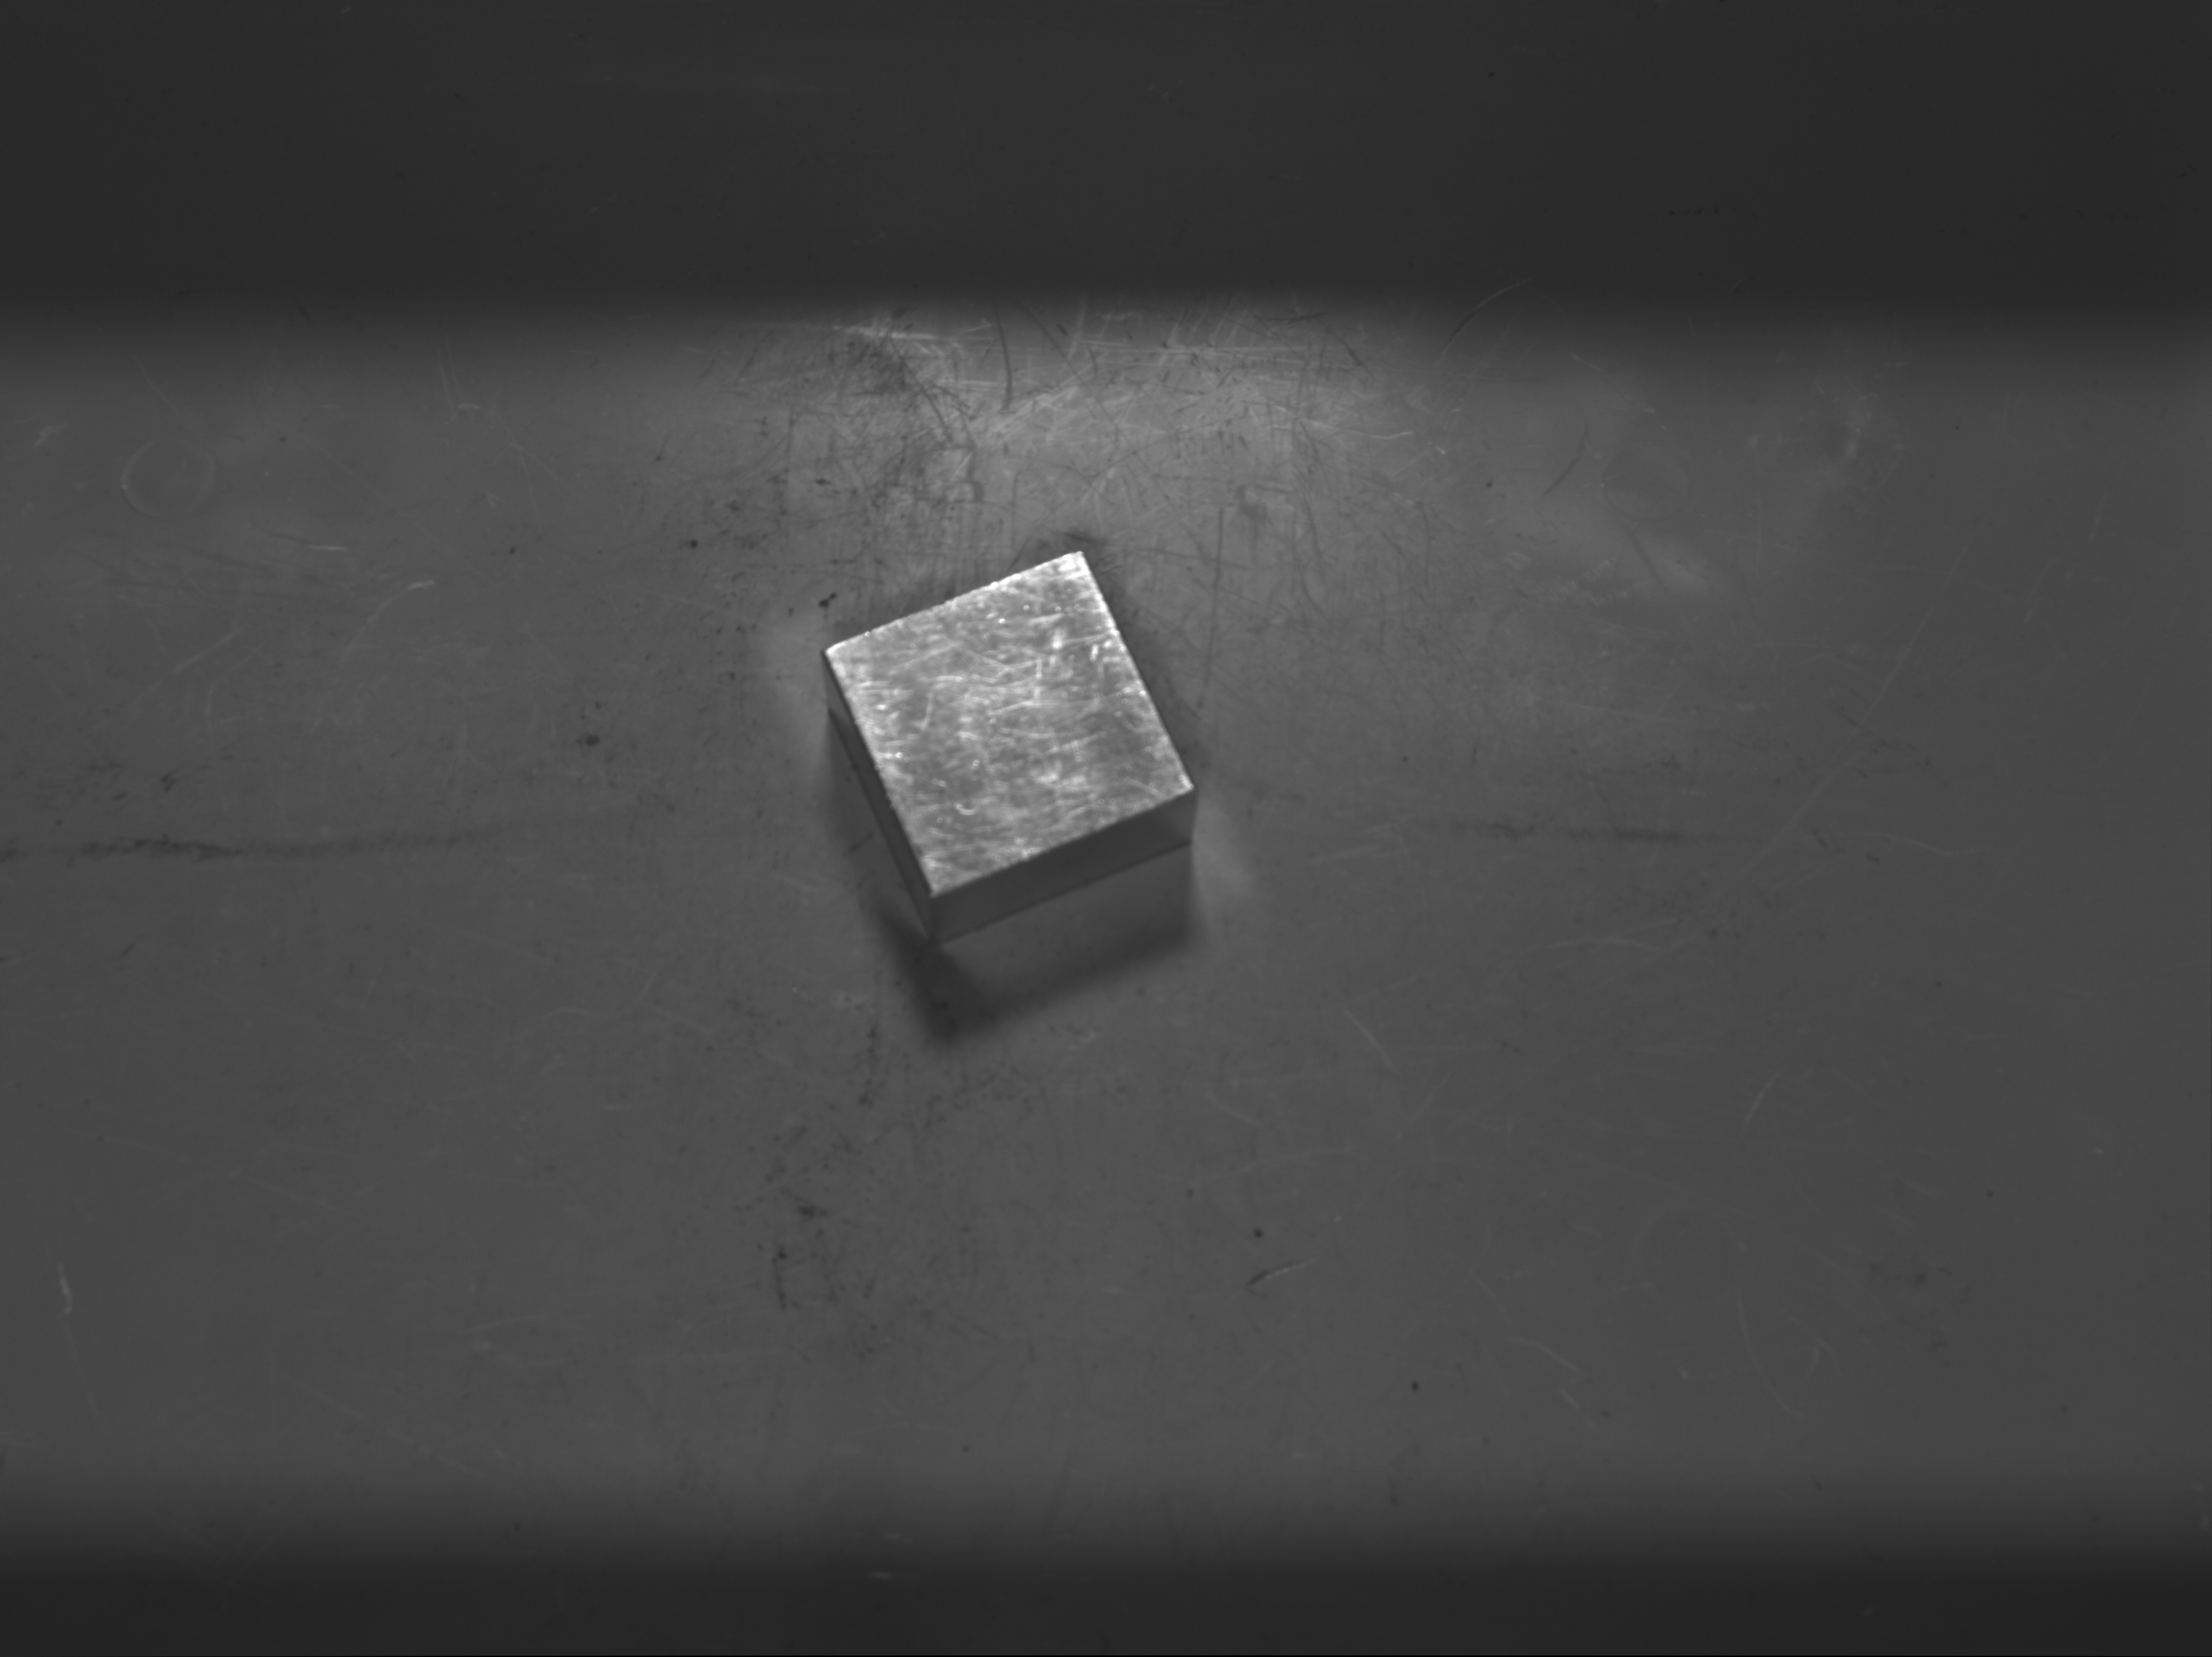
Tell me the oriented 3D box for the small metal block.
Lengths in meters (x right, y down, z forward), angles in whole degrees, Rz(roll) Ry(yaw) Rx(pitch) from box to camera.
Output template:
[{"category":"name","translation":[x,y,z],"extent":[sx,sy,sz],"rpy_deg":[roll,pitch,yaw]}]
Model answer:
[{"category":"small metal block","translation":[-0.010,-0.014,0.647],"extent":[0.050,0.025,0.050],"rpy_deg":[-22,71,-8]}]
